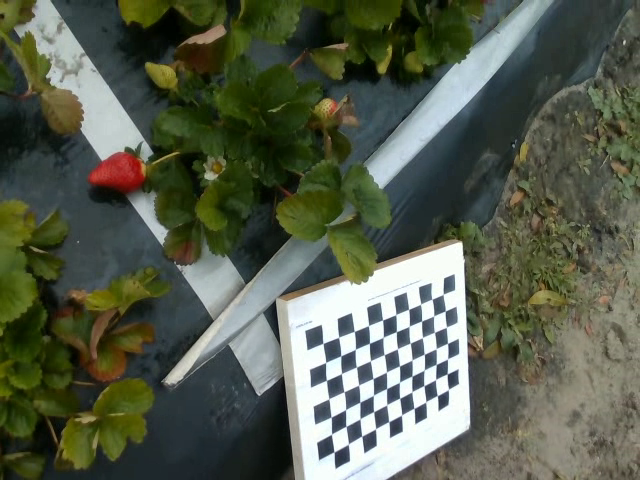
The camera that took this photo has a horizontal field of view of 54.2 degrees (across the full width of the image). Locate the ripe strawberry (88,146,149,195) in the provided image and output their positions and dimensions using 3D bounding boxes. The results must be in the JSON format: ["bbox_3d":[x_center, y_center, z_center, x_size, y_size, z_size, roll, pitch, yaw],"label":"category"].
[{"bbox_3d":[-0.182,-0.060,0.547,0.051,0.042,0.037,-21,24,-36],"label":"ripe strawberry"}]
